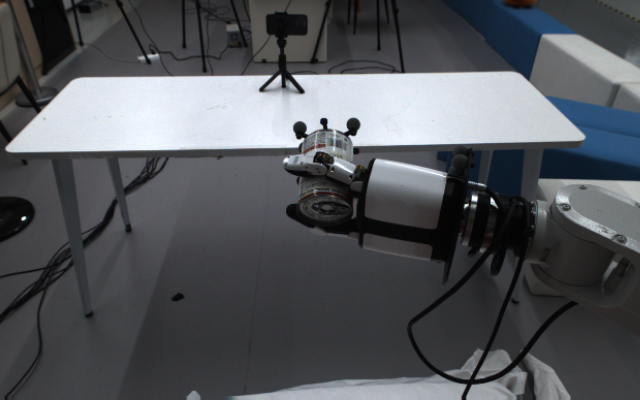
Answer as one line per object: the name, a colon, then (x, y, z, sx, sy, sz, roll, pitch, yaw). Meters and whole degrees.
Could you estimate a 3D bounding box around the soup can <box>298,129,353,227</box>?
soup can: (0.008, -0.028, 0.592, 0.067, 0.067, 0.101, 3, 56, 1)
